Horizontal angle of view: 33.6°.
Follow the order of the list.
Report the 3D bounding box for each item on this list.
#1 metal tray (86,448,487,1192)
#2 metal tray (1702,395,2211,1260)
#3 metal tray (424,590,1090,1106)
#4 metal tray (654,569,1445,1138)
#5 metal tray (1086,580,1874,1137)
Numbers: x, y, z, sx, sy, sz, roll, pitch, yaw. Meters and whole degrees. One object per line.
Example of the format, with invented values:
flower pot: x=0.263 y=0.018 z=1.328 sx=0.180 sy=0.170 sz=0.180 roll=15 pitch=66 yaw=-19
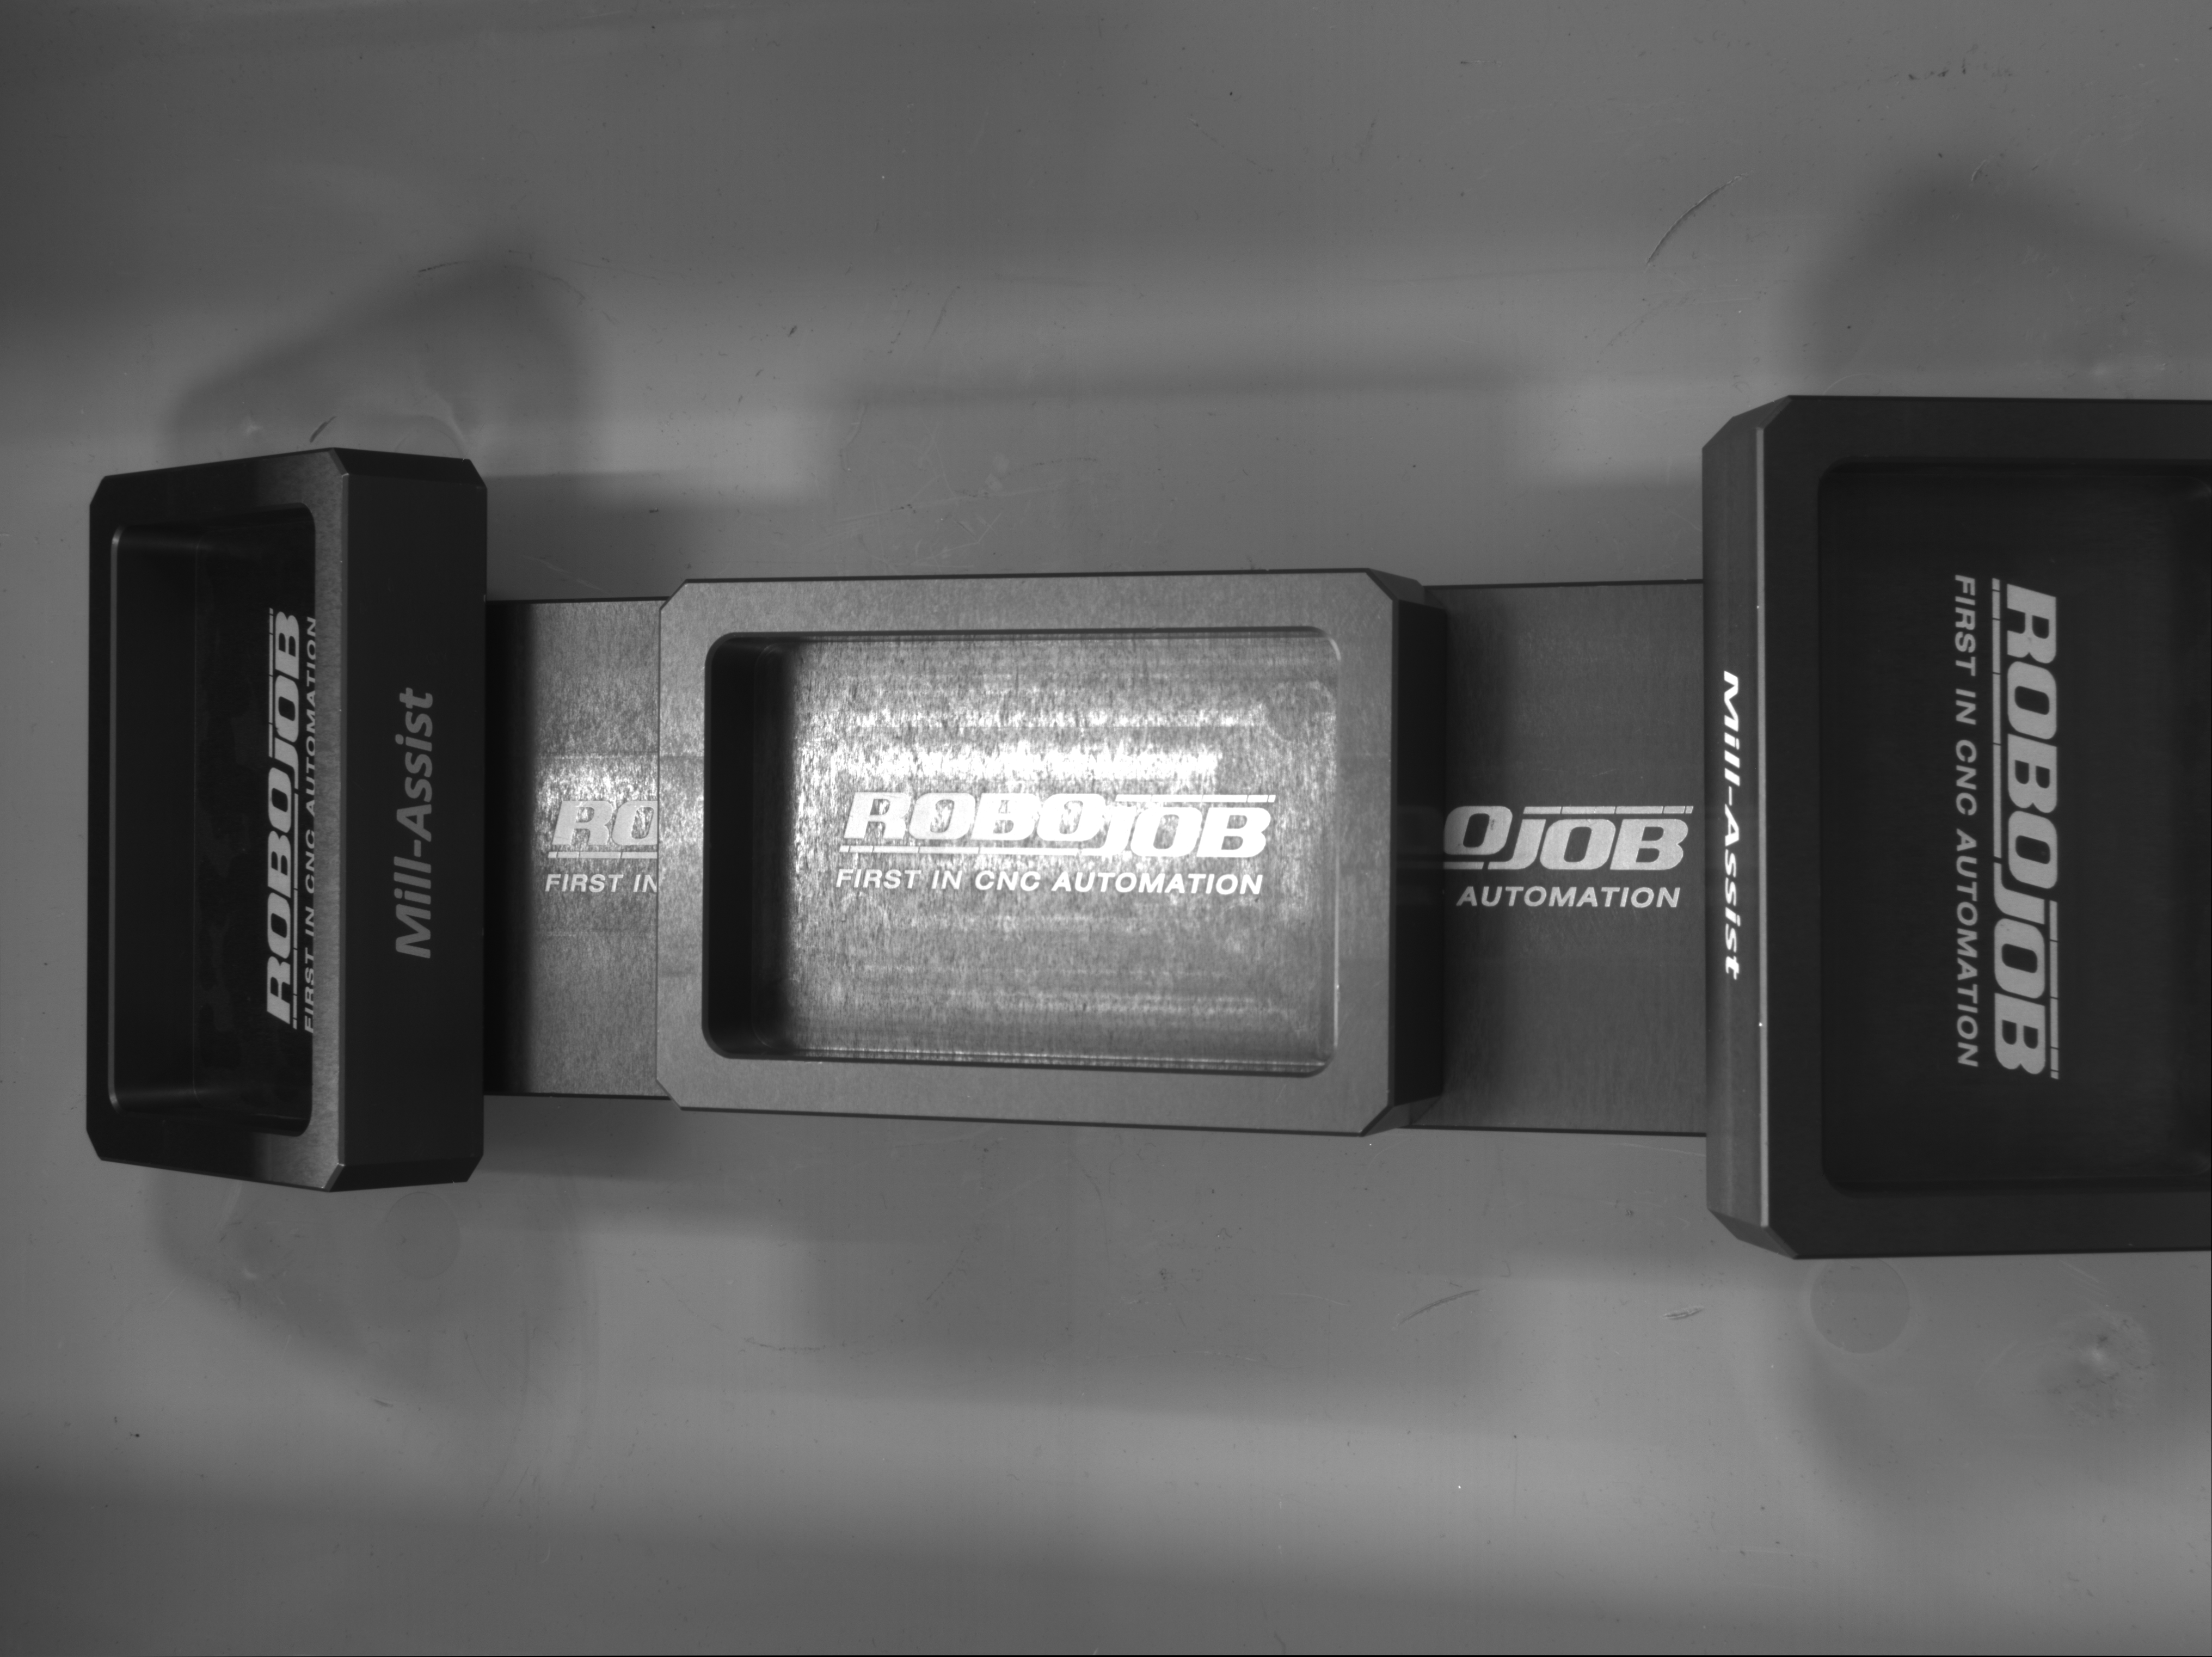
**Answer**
metal tray: x=-0.153 y=-0.002 z=0.679 sx=0.090 sy=0.030 sz=0.130 roll=1 pitch=90 yaw=46
metal tray: x=0.141 y=0.000 z=0.571 sx=0.090 sy=0.030 sz=0.130 roll=0 pitch=90 yaw=-8
metal tray: x=-0.059 y=0.004 z=0.665 sx=0.130 sy=0.030 sz=0.090 roll=0 pitch=90 yaw=20
metal tray: x=-0.010 y=0.004 z=0.614 sx=0.130 sy=0.030 sz=0.090 roll=1 pitch=89 yaw=20
metal tray: x=0.062 y=0.005 z=0.620 sx=0.130 sy=0.030 sz=0.090 roll=0 pitch=90 yaw=20
